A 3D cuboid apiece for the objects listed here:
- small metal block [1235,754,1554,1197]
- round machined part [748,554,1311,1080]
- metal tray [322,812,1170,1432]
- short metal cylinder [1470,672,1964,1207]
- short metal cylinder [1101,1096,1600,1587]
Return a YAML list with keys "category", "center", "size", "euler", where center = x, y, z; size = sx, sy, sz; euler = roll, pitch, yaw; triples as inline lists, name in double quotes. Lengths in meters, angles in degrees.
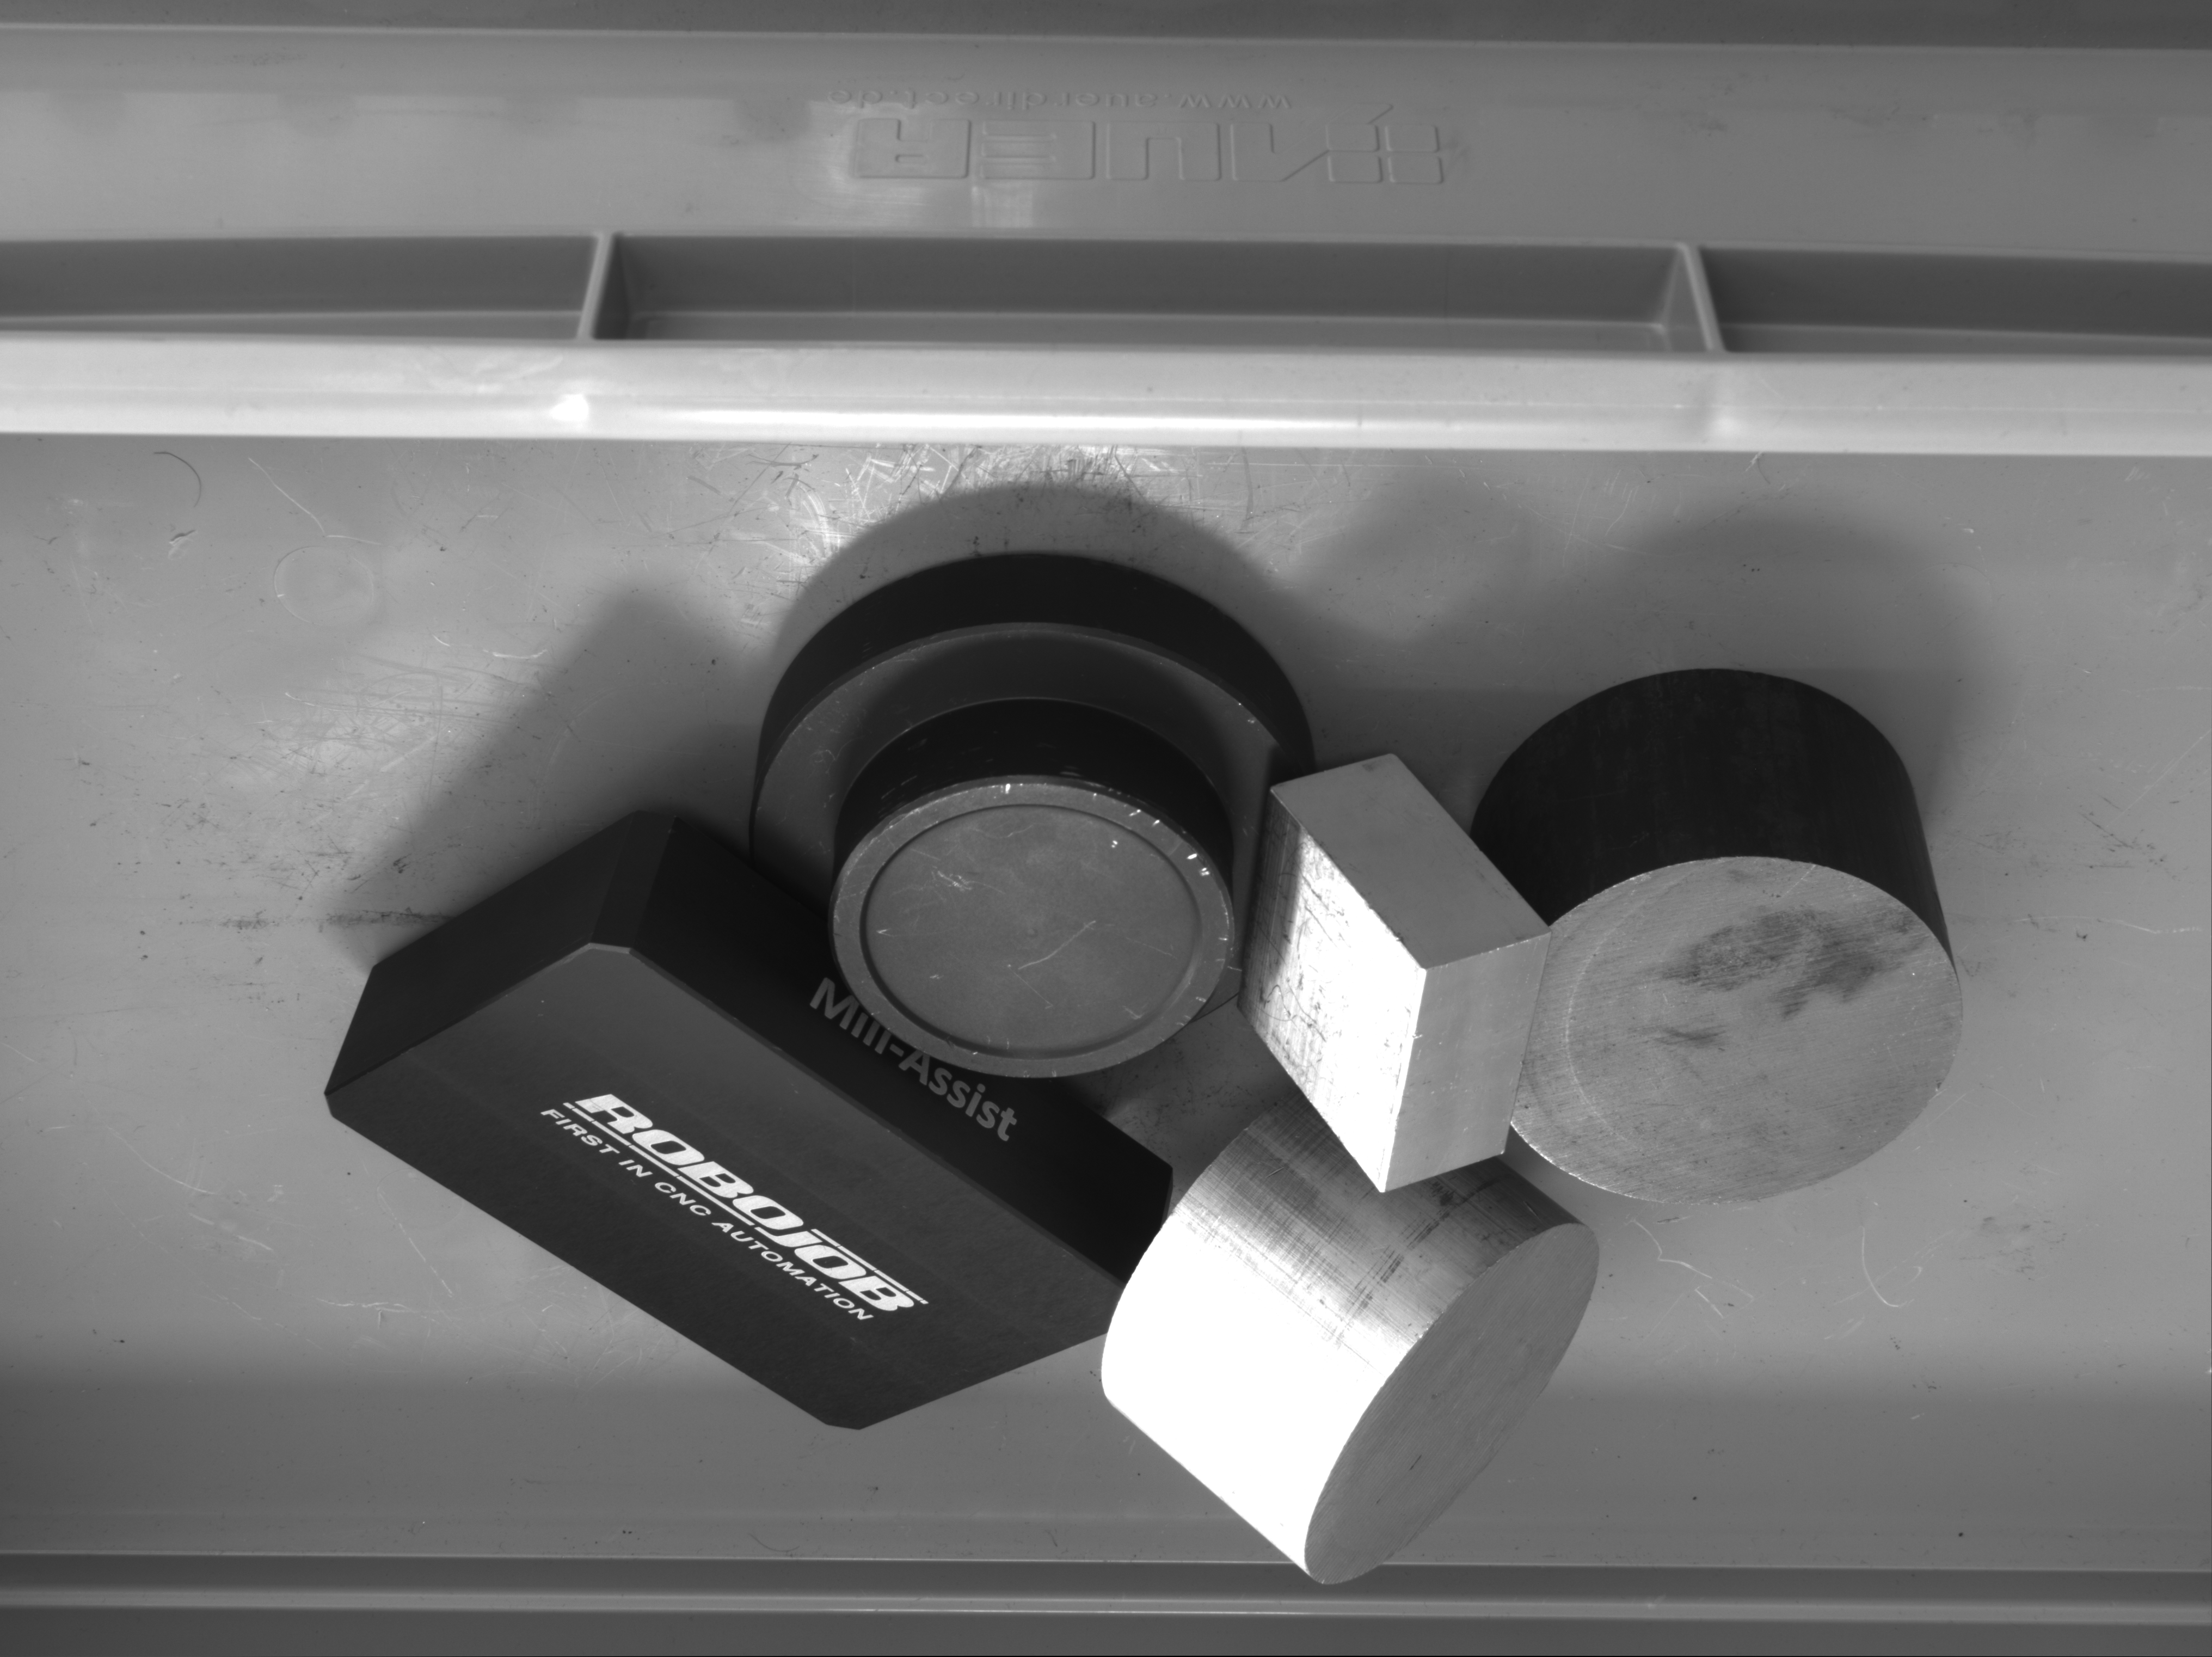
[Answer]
- category: "small metal block"
  center: [0.047, 0.024, 0.618]
  size: [0.025, 0.050, 0.050]
  euler: [-15, 134, -24]
- category: "round machined part"
  center: [-0.012, 0.005, 0.630]
  size: [0.098, 0.042, 0.098]
  euler: [0, 130, 0]
- category: "metal tray"
  center: [-0.064, 0.057, 0.668]
  size: [0.130, 0.030, 0.090]
  euler: [37, 136, -27]
- category: "short metal cylinder"
  center: [0.104, 0.020, 0.639]
  size: [0.080, 0.050, 0.080]
  euler: [0, 130, 0]
- category: "short metal cylinder"
  center: [0.045, 0.090, 0.670]
  size: [0.050, 0.080, 0.080]
  euler: [37, 135, 27]
